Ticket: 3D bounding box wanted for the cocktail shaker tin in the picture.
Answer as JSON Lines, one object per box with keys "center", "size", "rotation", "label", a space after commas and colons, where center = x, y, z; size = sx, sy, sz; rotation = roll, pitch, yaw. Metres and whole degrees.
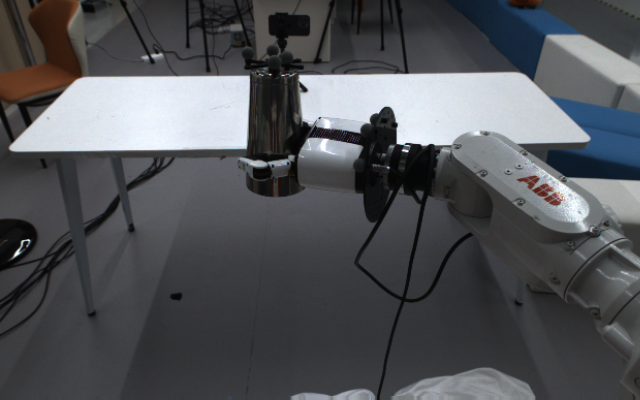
{"center": [-0.063, -0.101, 0.694], "size": [0.093, 0.170, 0.093], "rotation": [1, 28, 0], "label": "cocktail shaker tin"}
